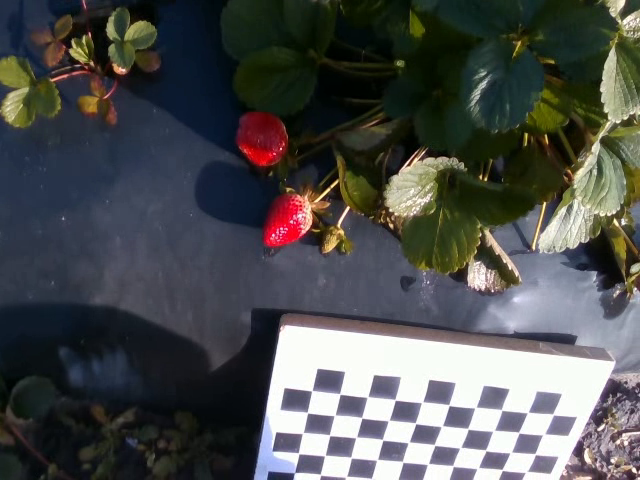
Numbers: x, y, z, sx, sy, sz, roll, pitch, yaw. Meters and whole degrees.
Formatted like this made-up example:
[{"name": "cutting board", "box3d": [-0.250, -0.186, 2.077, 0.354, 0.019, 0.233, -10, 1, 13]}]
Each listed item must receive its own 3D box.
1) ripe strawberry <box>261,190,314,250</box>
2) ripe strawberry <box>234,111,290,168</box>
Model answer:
[{"name": "ripe strawberry", "box3d": [-0.028, -0.014, 0.485, 0.038, 0.043, 0.053, -5, 39, 54]}, {"name": "ripe strawberry", "box3d": [-0.047, -0.081, 0.492, 0.054, 0.048, 0.039, 15, 23, -37]}]
